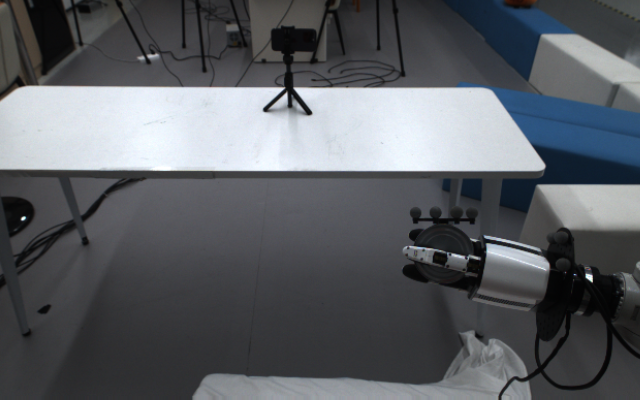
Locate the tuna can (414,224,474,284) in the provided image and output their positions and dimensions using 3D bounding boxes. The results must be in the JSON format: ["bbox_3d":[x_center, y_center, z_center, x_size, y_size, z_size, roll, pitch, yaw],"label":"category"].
[{"bbox_3d":[0.181,0.076,0.705,0.085,0.085,0.034,15,2,18],"label":"tuna can"}]
